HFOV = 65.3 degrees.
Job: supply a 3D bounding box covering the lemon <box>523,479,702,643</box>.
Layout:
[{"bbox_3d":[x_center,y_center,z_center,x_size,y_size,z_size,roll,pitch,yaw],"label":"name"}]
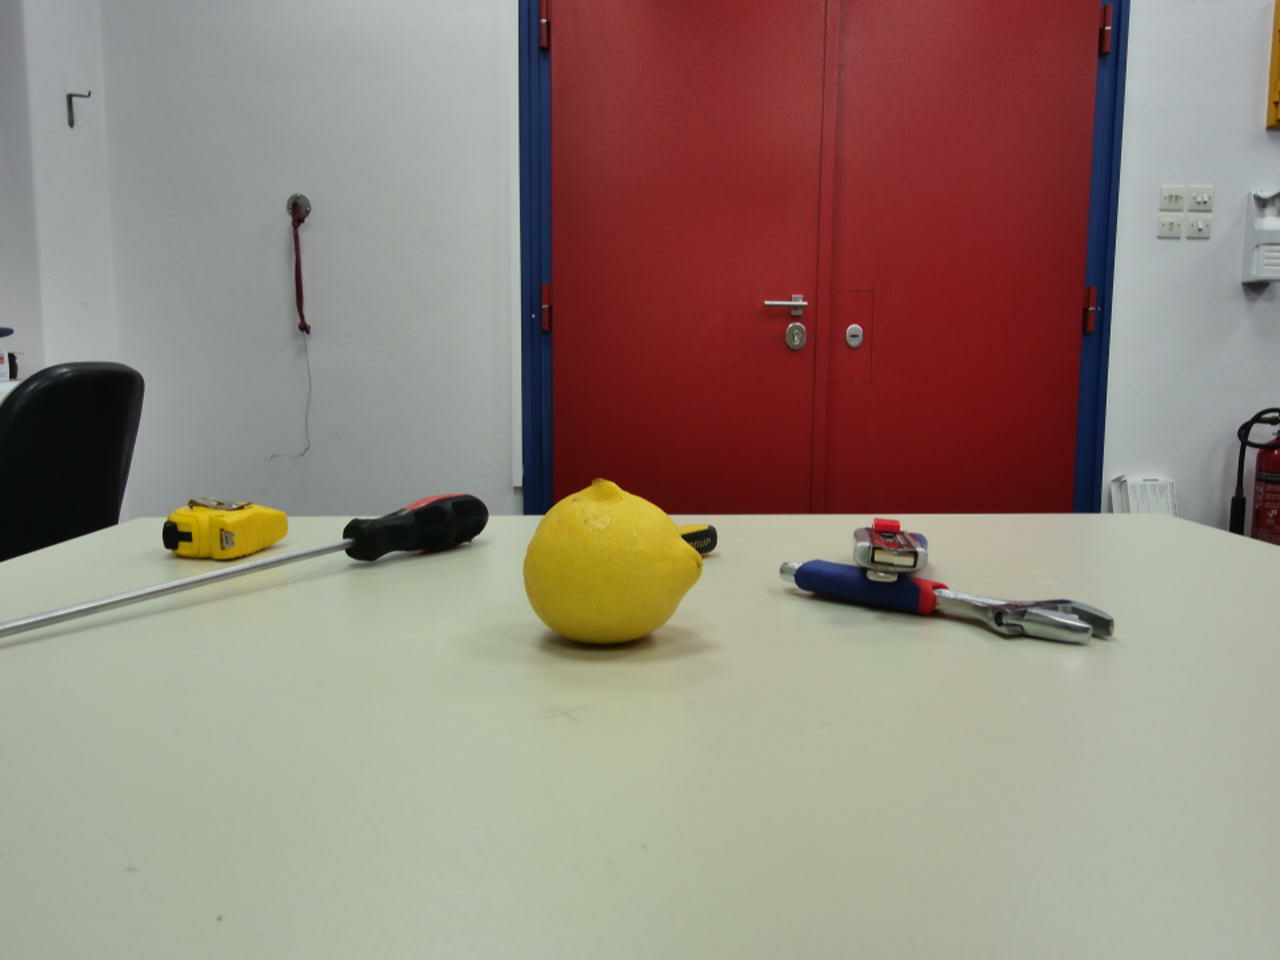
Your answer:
[{"bbox_3d":[-0.016,0.035,0.437,0.070,0.071,0.071,-4,5,-34],"label":"lemon"}]
